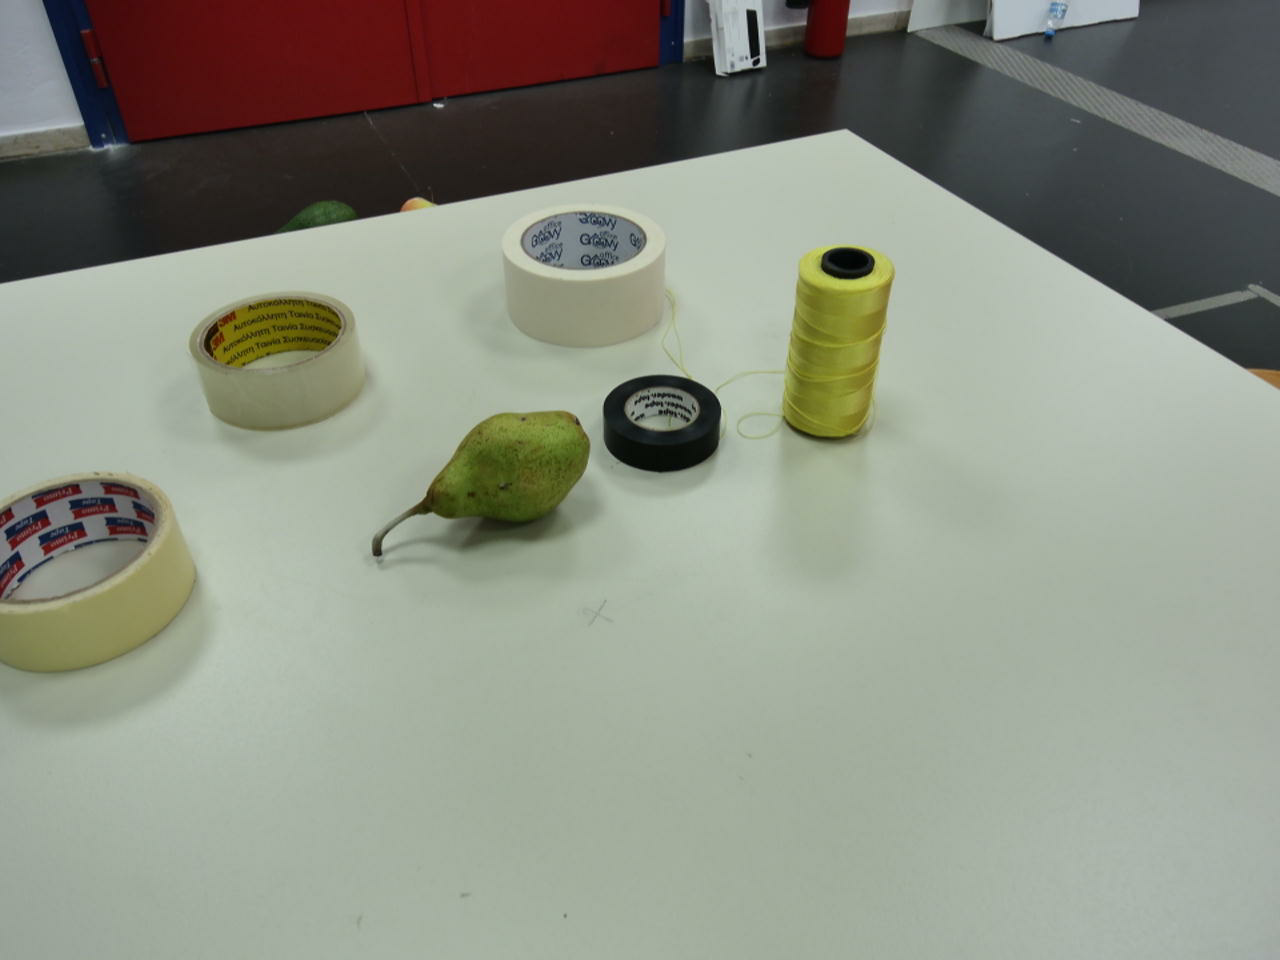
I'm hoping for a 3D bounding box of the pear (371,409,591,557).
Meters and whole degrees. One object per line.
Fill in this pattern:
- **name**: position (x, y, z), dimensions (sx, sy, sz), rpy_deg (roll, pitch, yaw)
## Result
- **pear**: position (-0.079, -0.005, 0.495), dimensions (0.111, 0.056, 0.056), rpy_deg (-6, 39, -8)
